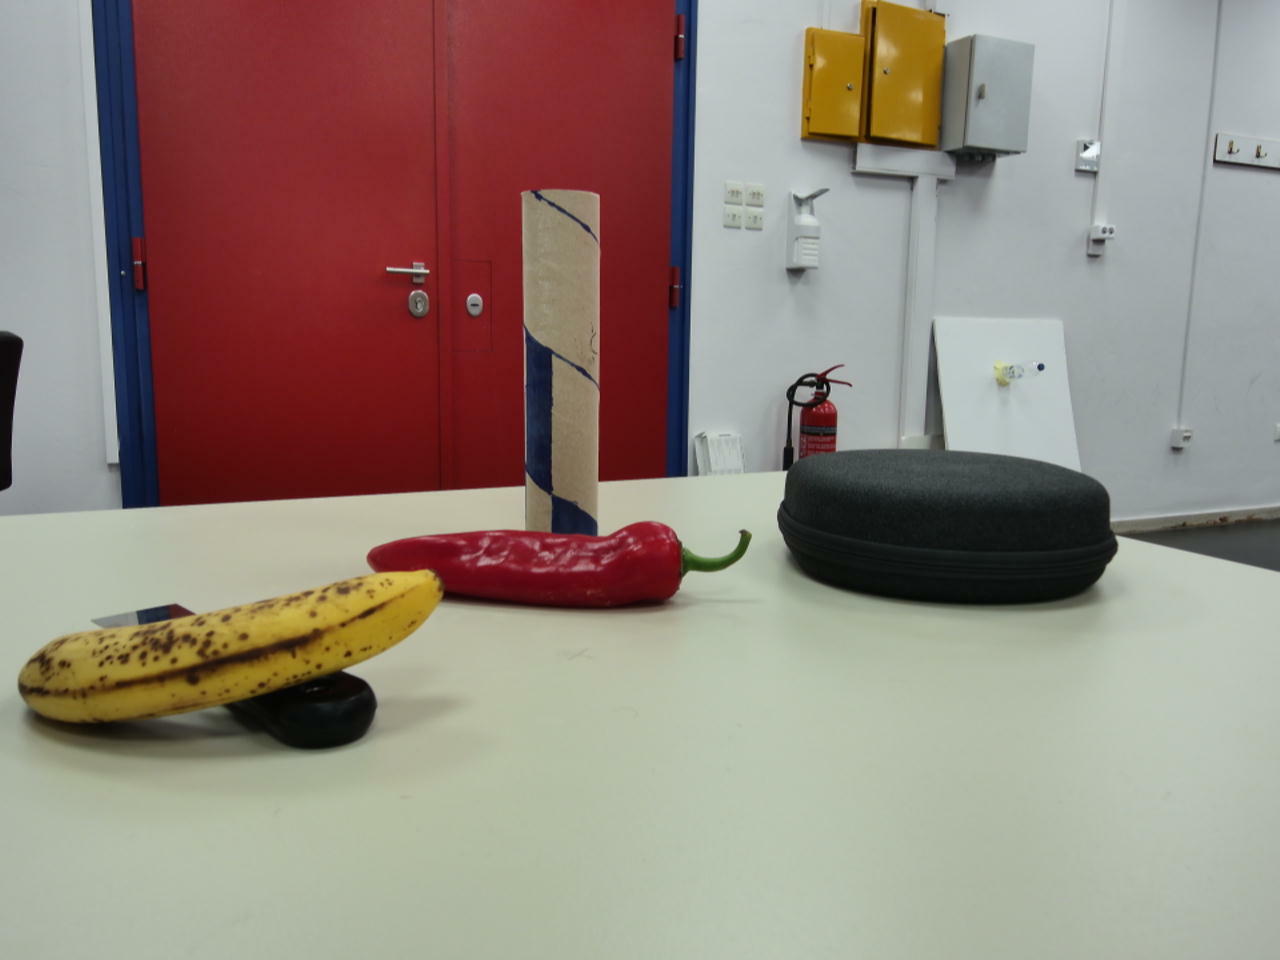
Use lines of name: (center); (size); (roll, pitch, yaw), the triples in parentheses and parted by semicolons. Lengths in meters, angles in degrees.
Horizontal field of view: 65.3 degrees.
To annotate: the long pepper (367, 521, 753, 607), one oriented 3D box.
long pepper: (-0.047, 0.043, 0.533); (0.211, 0.043, 0.050); (0, 7, 7)
